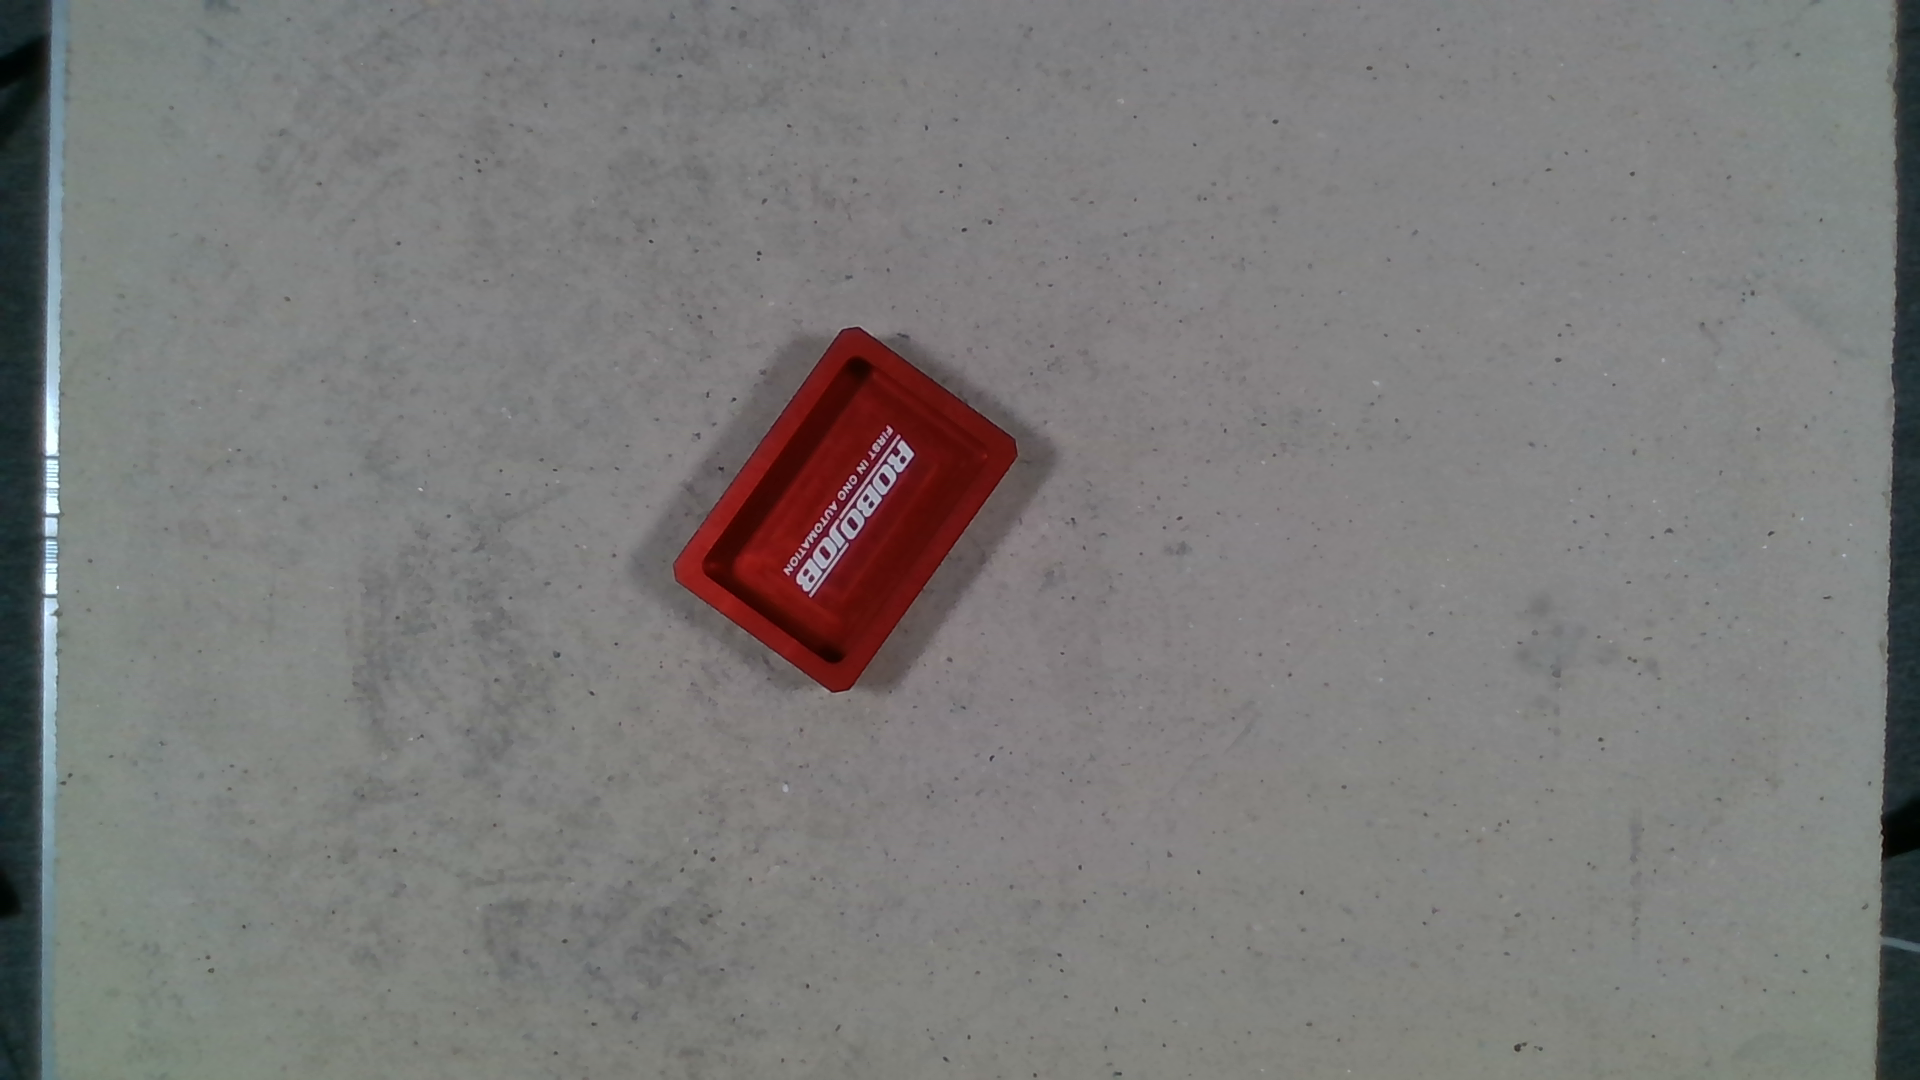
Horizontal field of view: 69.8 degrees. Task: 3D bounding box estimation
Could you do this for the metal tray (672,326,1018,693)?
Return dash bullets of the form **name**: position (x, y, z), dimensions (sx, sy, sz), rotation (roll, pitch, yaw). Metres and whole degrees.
- **metal tray**: position (-0.048, -0.013, 0.584), dimensions (0.090, 0.030, 0.130), rotation (36, 90, 0)
